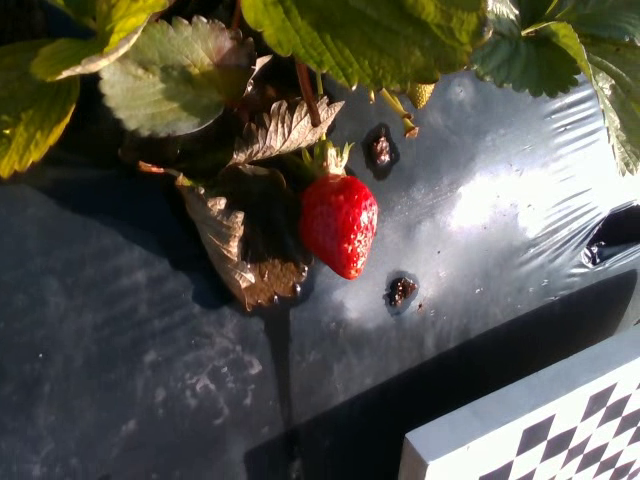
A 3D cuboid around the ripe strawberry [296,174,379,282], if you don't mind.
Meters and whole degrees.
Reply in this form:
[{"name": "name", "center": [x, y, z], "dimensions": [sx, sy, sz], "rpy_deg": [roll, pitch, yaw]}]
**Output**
[{"name": "ripe strawberry", "center": [0.010, 0.003, 0.233], "dimensions": [0.046, 0.054, 0.037], "rpy_deg": [2, -15, -37]}]
